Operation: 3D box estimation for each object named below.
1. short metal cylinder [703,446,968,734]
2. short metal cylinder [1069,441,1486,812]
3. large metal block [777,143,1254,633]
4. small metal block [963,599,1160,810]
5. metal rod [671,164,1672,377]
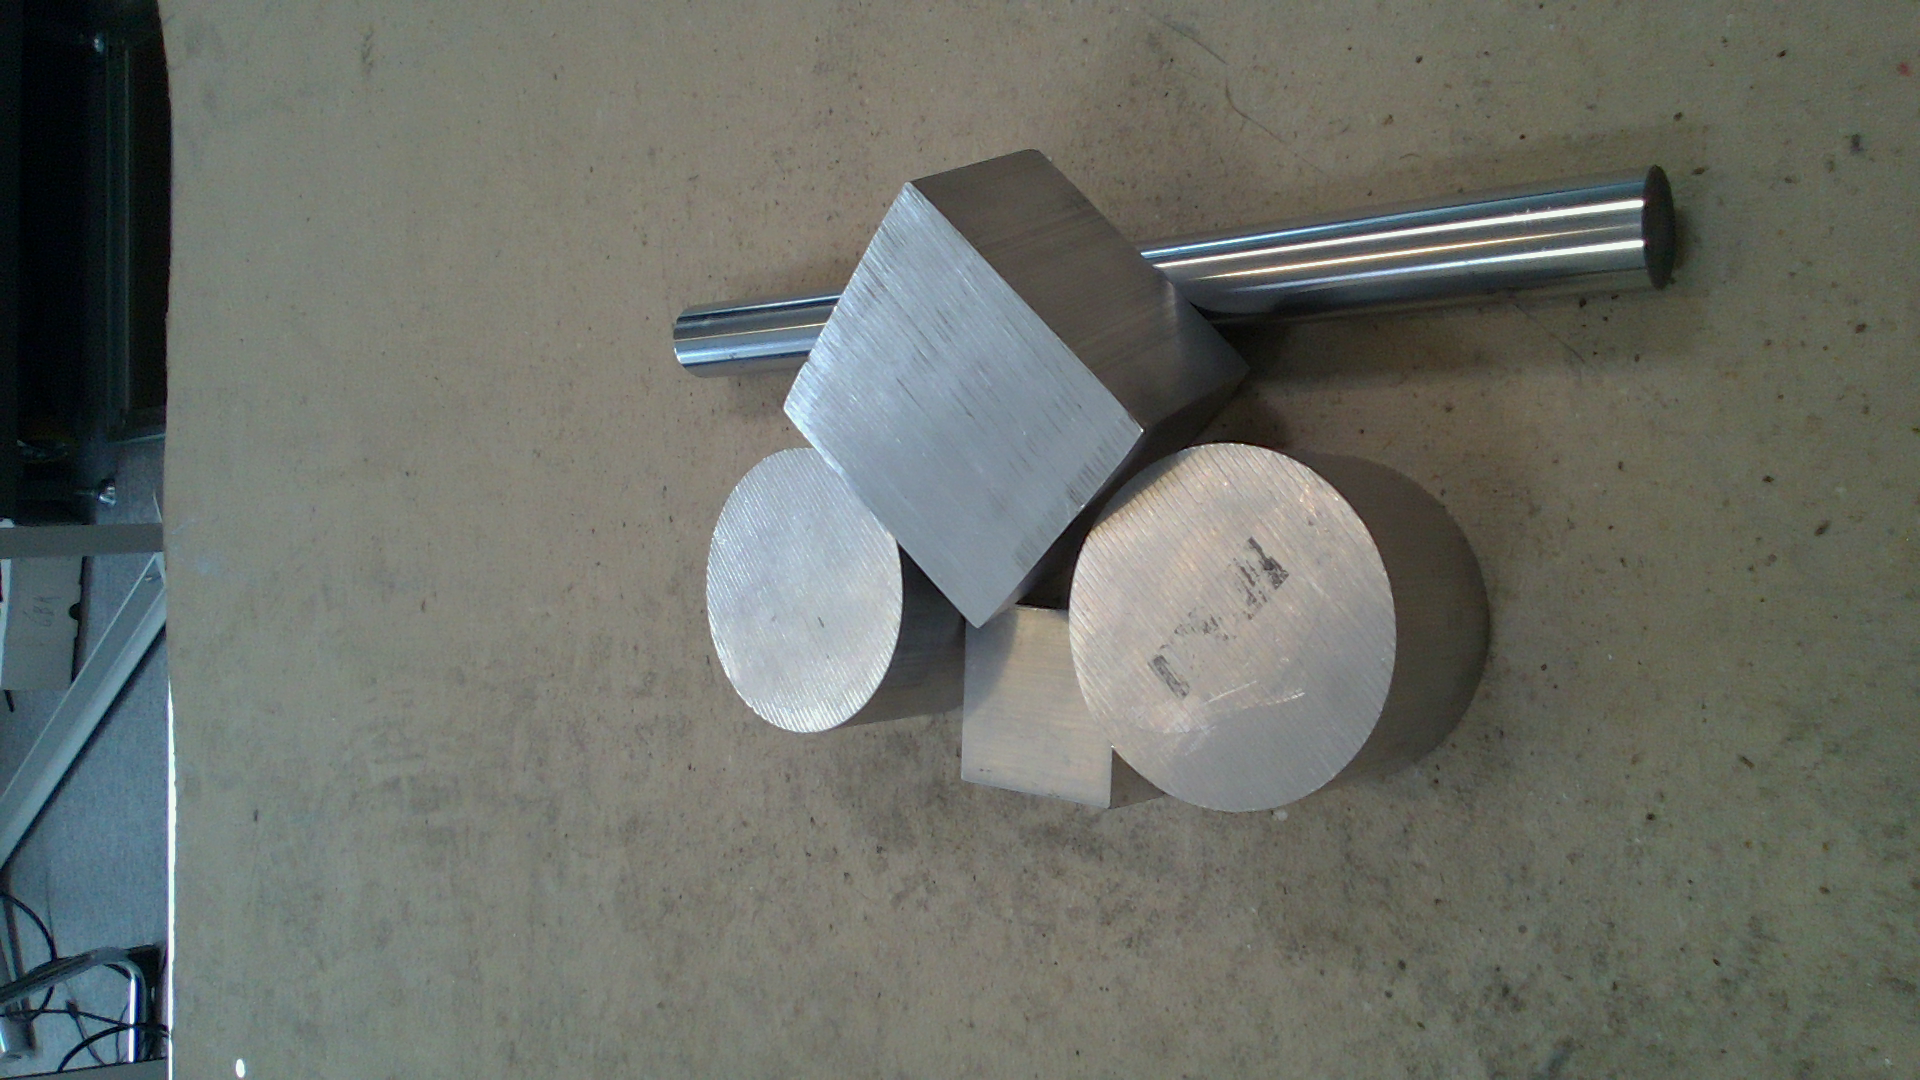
[{"bbox_3d":[-0.030,0.014,0.403,0.080,0.050,0.080,0,90,40],"label":"short metal cylinder"},{"bbox_3d":[0.072,0.019,0.317,0.080,0.050,0.080,0,90,40],"label":"short metal cylinder"},{"bbox_3d":[0.011,-0.038,0.346,0.080,0.050,0.080,48,134,11],"label":"large metal block"},{"bbox_3d":[0.029,0.042,0.372,0.050,0.025,0.050,2,92,40],"label":"small metal block"},{"bbox_3d":[0.026,-0.065,0.373,0.299,0.025,0.025,1,91,40],"label":"metal rod"}]
